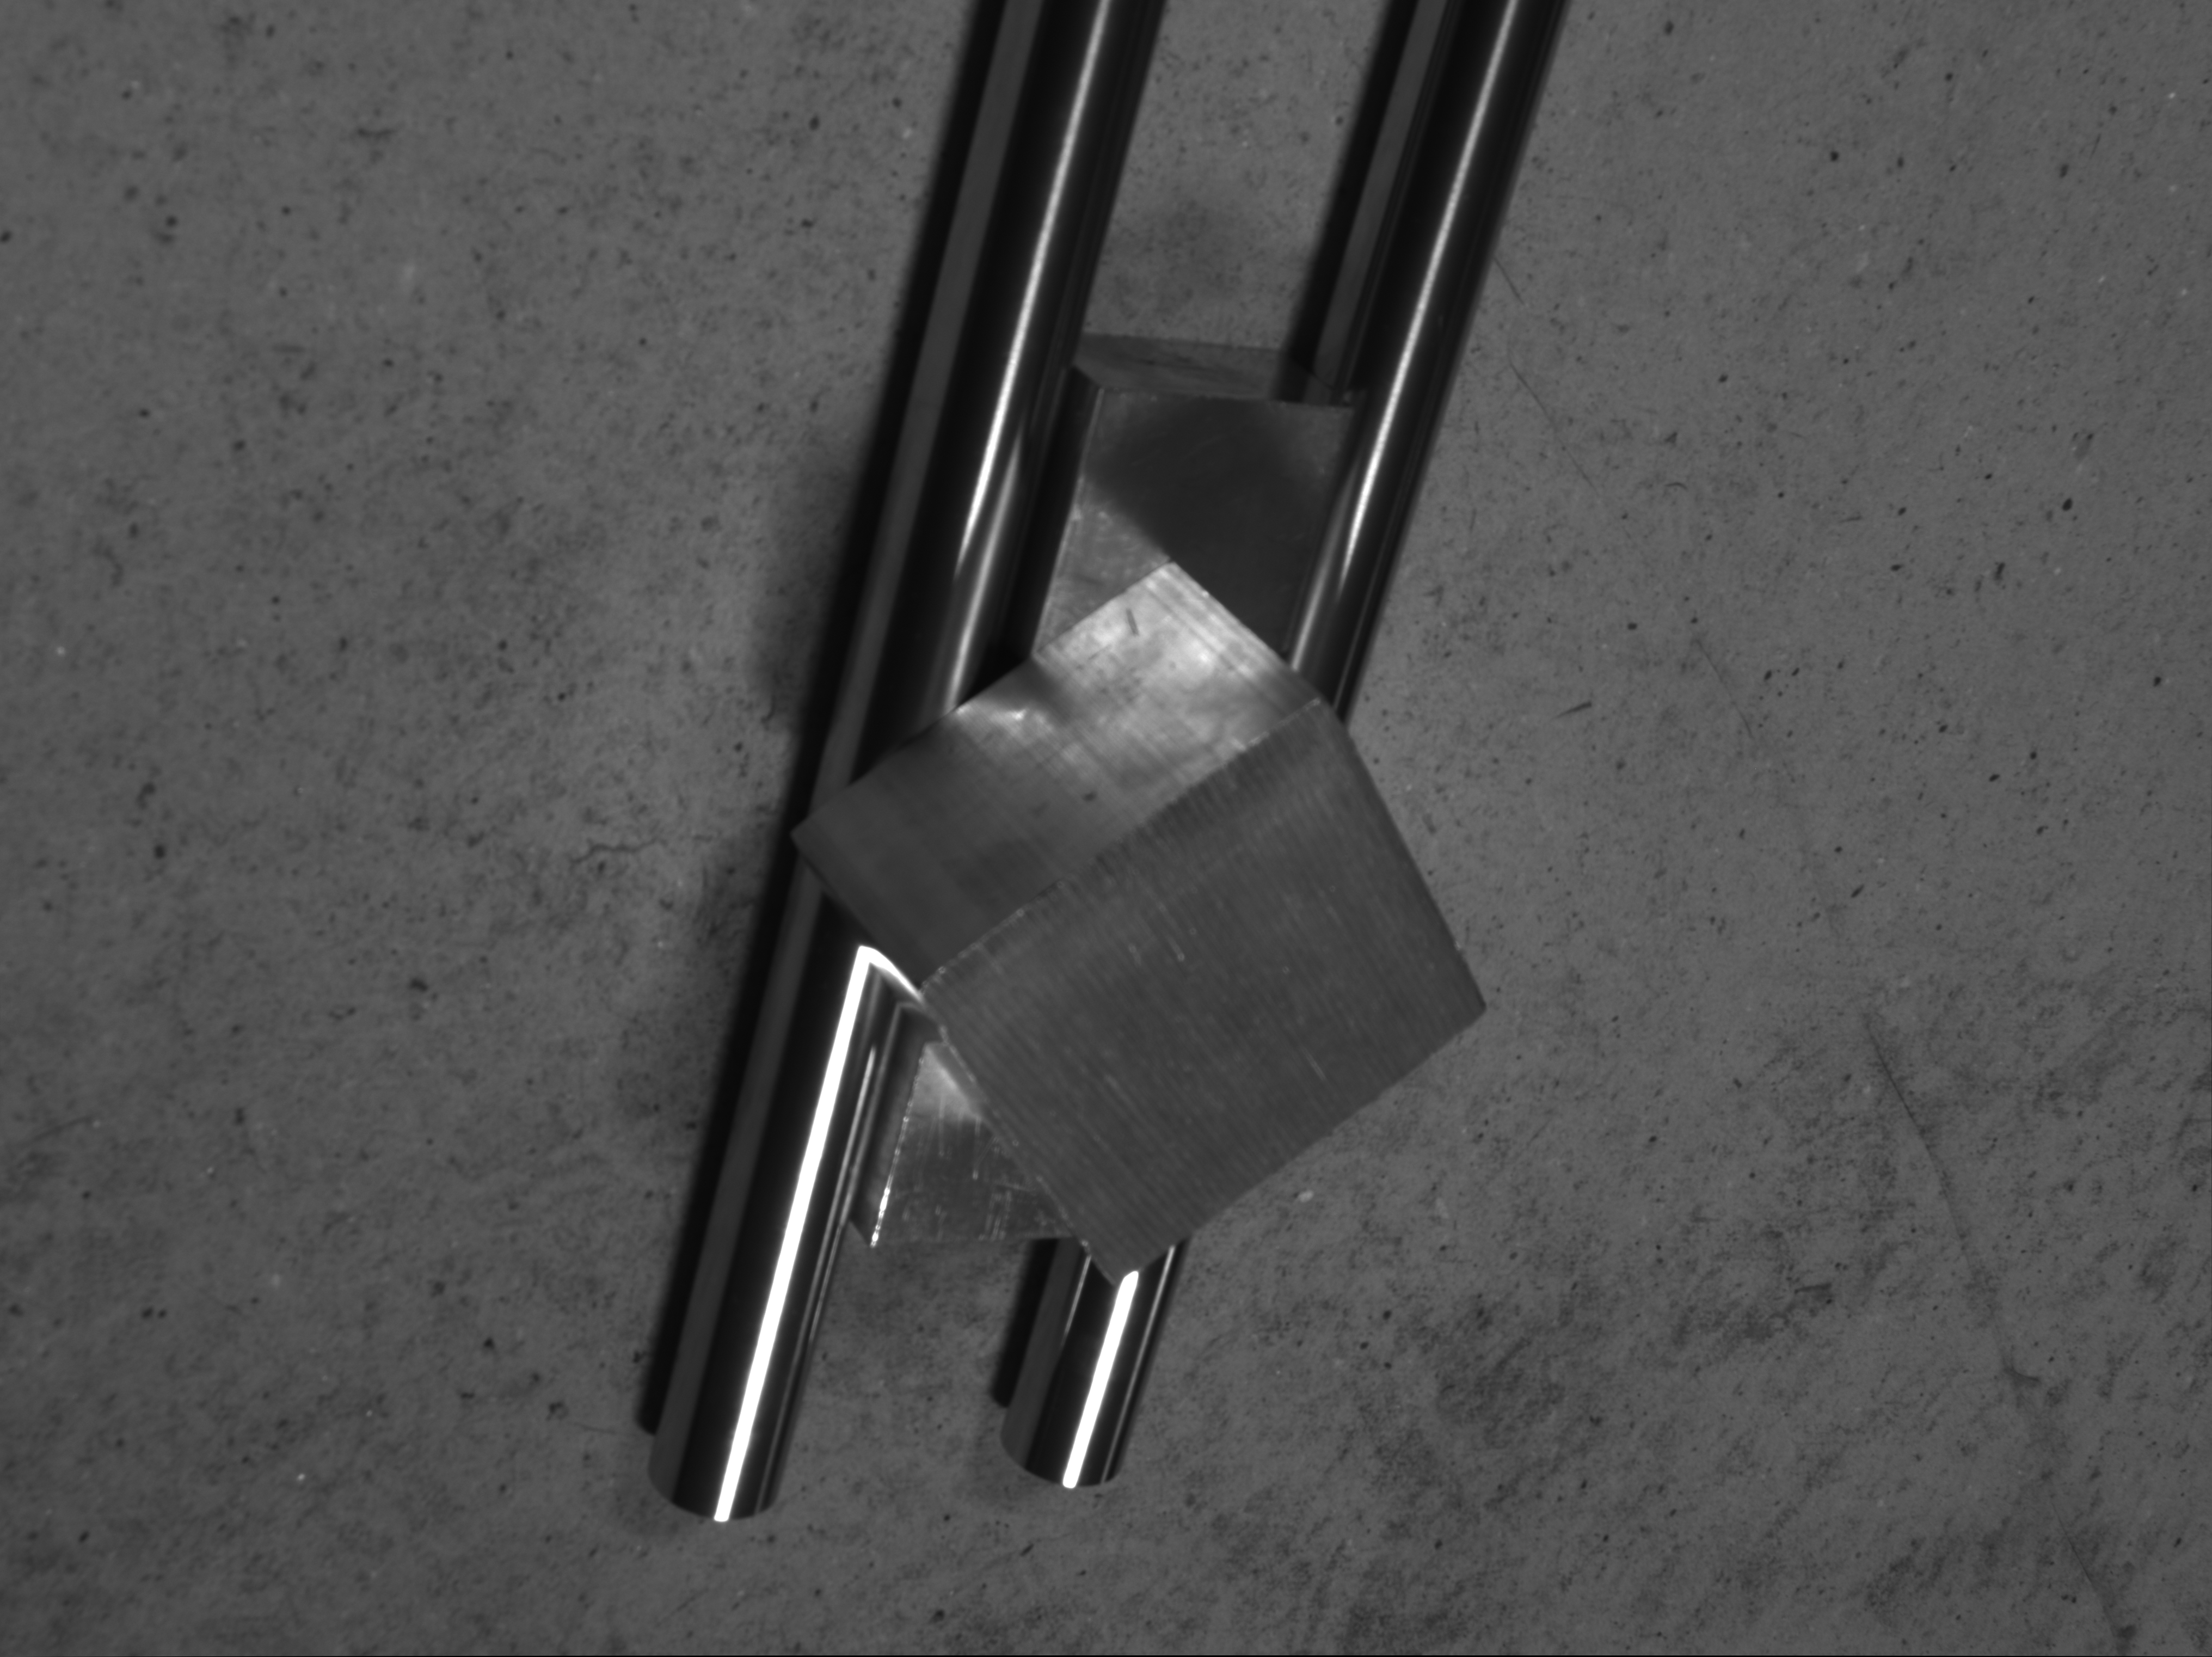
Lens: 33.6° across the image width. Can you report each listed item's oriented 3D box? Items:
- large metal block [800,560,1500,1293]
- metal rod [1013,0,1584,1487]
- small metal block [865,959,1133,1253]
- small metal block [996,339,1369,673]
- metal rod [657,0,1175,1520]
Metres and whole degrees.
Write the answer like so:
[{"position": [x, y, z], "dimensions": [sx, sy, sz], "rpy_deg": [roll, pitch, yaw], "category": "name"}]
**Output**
[{"position": [0.008, 0.017, 0.615], "dimensions": [0.080, 0.050, 0.080], "rpy_deg": [-36, 130, -7], "category": "large metal block"}, {"position": [0.031, -0.010, 0.664], "dimensions": [0.025, 0.025, 0.300], "rpy_deg": [1, 118, -31], "category": "metal rod"}, {"position": [-0.018, 0.049, 0.669], "dimensions": [0.050, 0.025, 0.050], "rpy_deg": [1, 118, -31], "category": "small metal block"}, {"position": [0.011, -0.054, 0.623], "dimensions": [0.050, 0.025, 0.050], "rpy_deg": [1, 118, -31], "category": "small metal block"}, {"position": [-0.035, -0.011, 0.625], "dimensions": [0.025, 0.025, 0.300], "rpy_deg": [1, 118, -31], "category": "metal rod"}]
